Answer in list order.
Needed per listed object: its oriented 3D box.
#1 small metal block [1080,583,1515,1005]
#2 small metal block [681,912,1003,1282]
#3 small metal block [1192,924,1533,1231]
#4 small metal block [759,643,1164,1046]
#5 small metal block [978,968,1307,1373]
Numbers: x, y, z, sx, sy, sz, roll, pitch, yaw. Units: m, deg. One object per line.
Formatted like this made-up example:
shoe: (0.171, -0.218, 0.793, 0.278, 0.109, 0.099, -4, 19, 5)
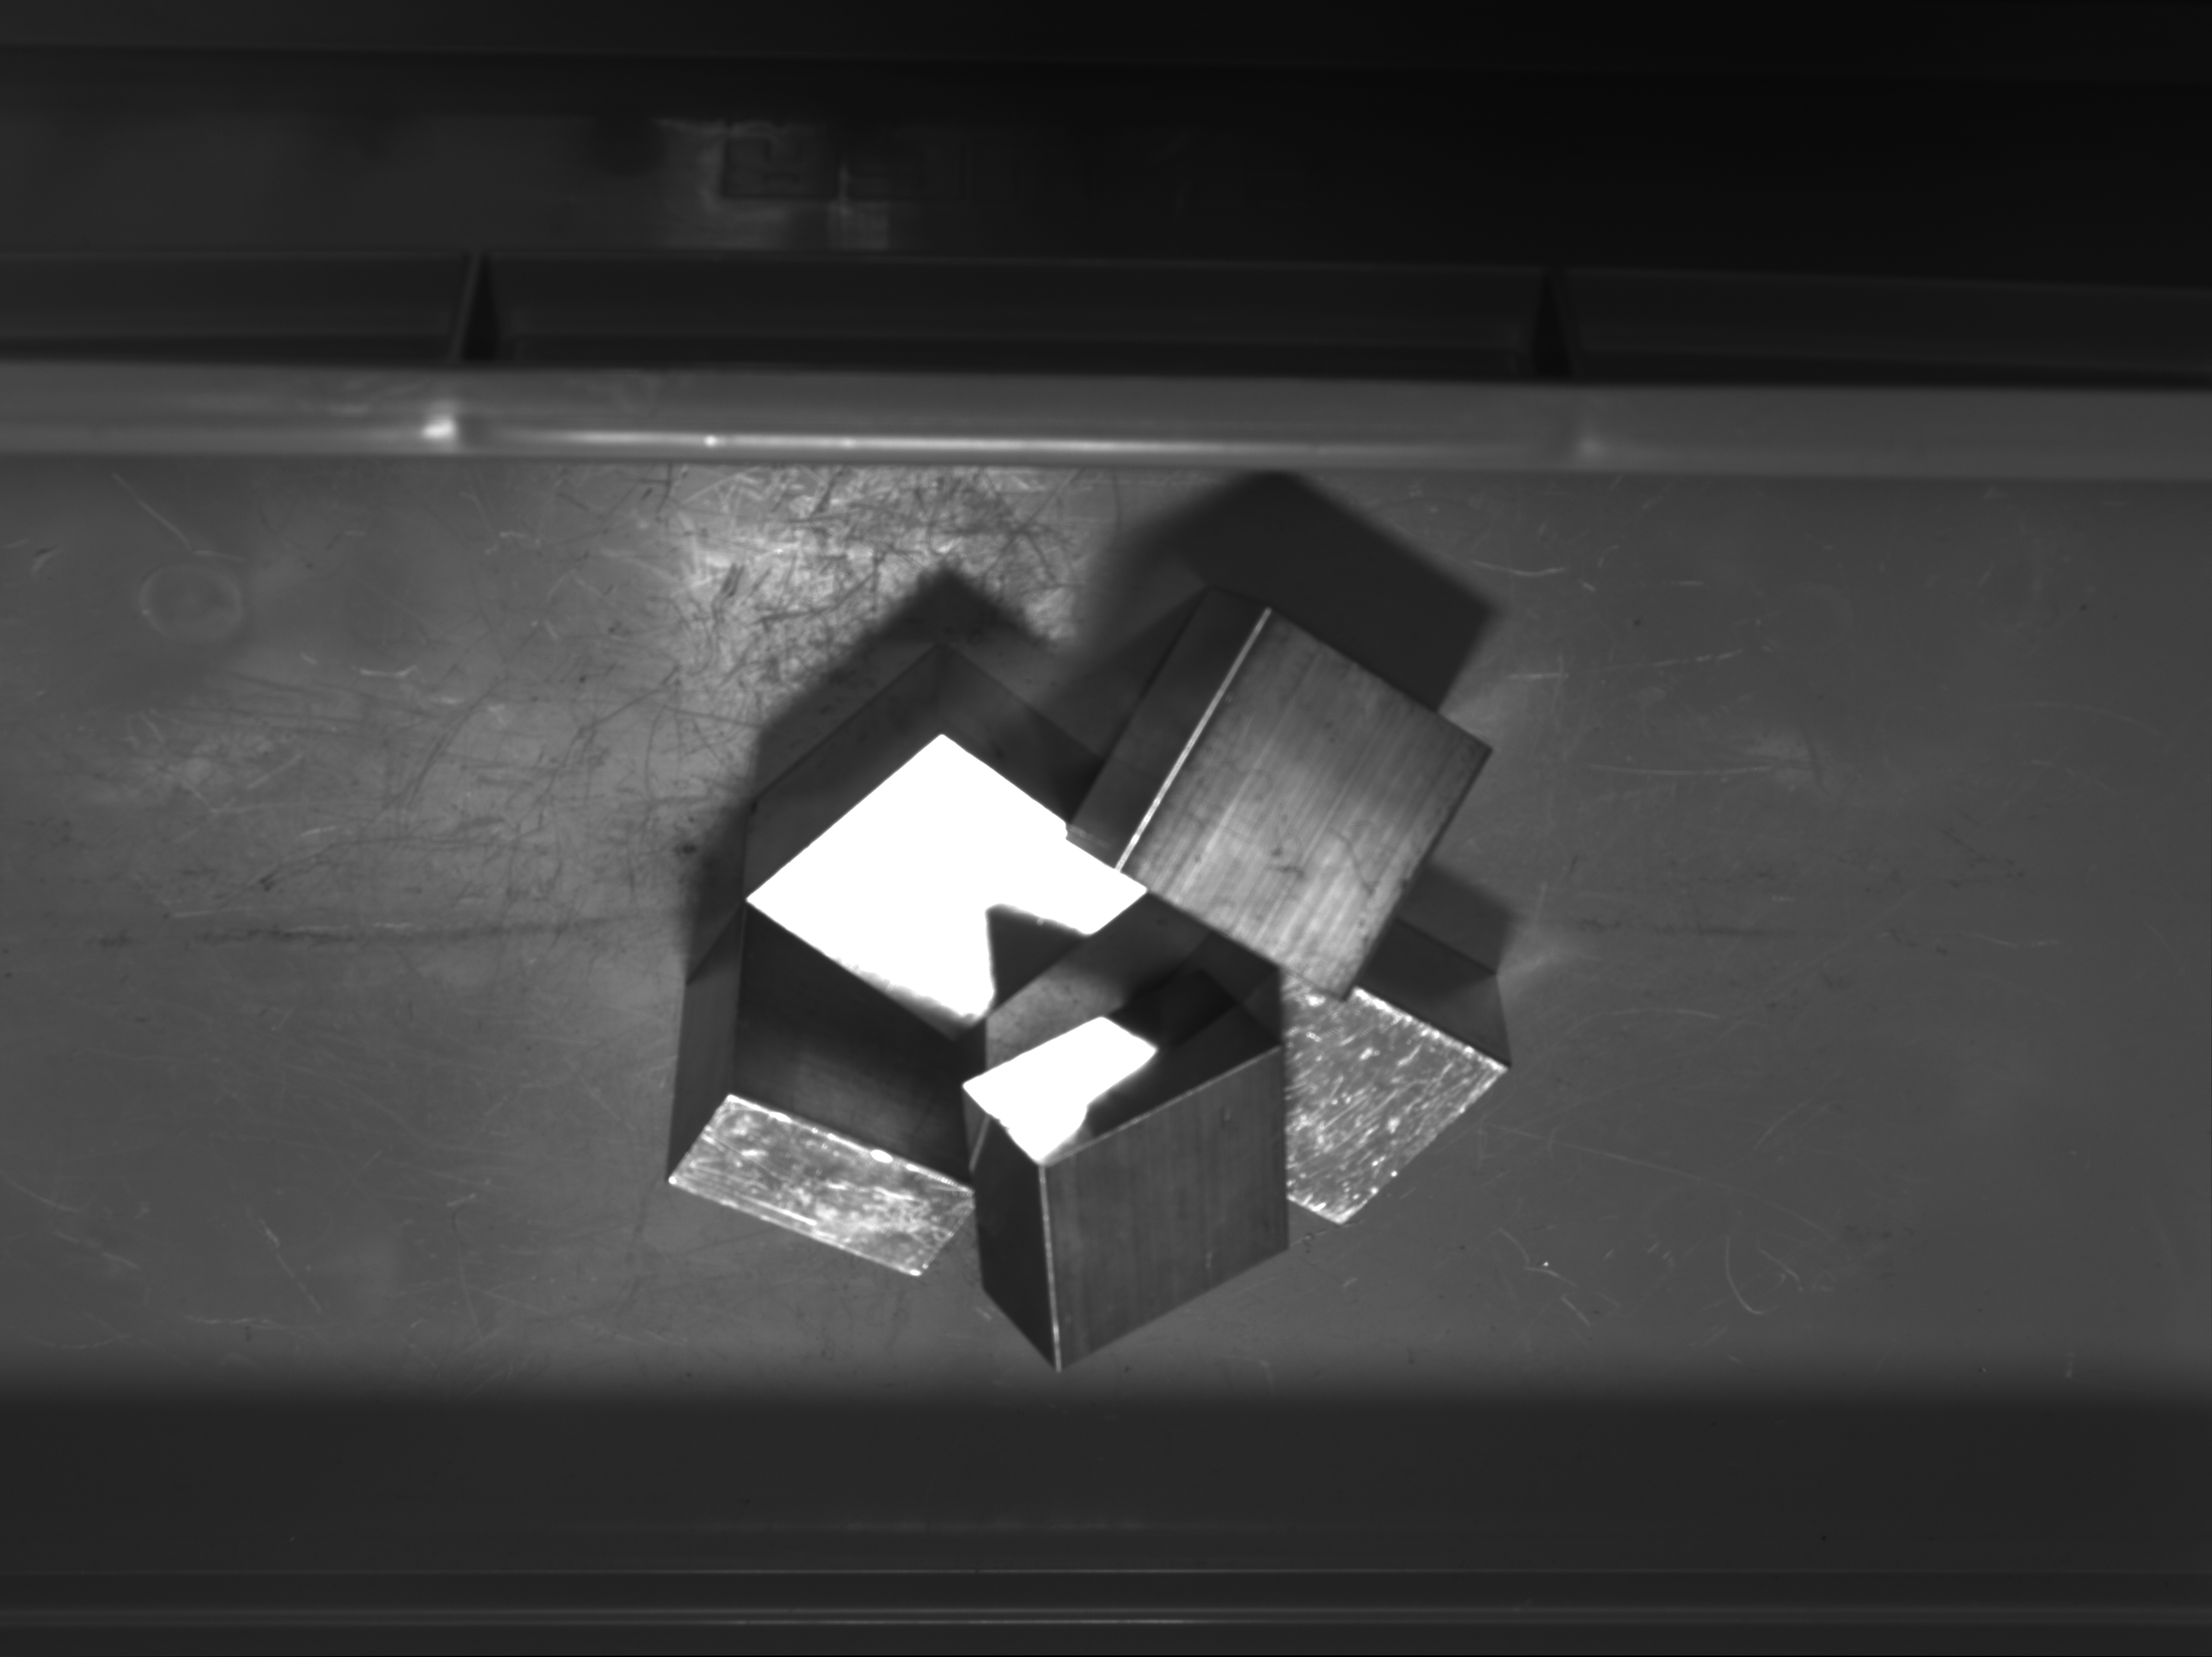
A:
small metal block: (0.032, -0.006, 0.618, 0.050, 0.025, 0.050, 30, 90, -24)
small metal block: (-0.047, 0.047, 0.658, 0.050, 0.050, 0.025, 24, 125, -20)
small metal block: (0.042, 0.040, 0.672, 0.050, 0.025, 0.050, 29, 123, -23)
small metal block: (-0.024, 0.004, 0.638, 0.050, 0.025, 0.050, 37, 120, -28)
small metal block: (0.007, 0.060, 0.640, 0.050, 0.025, 0.050, -25, 134, -24)
